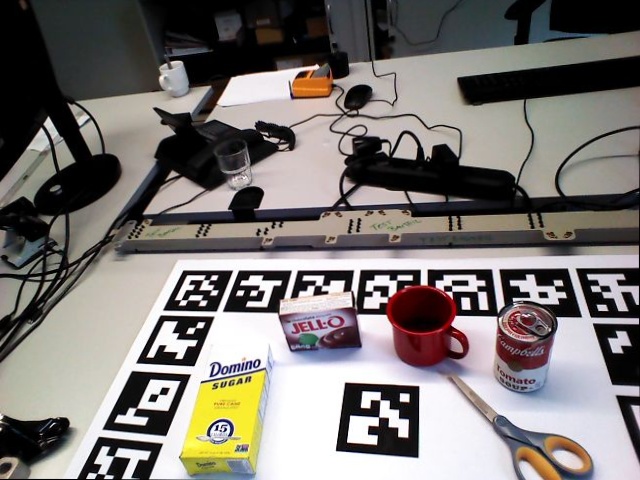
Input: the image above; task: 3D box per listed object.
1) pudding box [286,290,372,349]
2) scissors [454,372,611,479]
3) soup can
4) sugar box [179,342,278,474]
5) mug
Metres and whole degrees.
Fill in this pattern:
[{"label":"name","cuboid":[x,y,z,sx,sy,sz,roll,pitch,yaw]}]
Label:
[{"label":"pudding box","cuboid":[0.014,0.112,0.744,0.114,0.090,0.038,-8,47,7]},{"label":"scissors","cuboid":[0.236,0.221,0.611,0.087,0.016,0.203,-37,45,-11]},{"label":"soup can","cuboid":[0.267,0.132,0.653,0.068,0.102,0.067,-9,39,7]},{"label":"sugar box","cuboid":[-0.117,0.222,0.701,0.093,0.045,0.175,-6,42,13]},{"label":"mug","cuboid":[0.161,0.112,0.713,0.093,0.081,0.117,-28,40,-12]}]
